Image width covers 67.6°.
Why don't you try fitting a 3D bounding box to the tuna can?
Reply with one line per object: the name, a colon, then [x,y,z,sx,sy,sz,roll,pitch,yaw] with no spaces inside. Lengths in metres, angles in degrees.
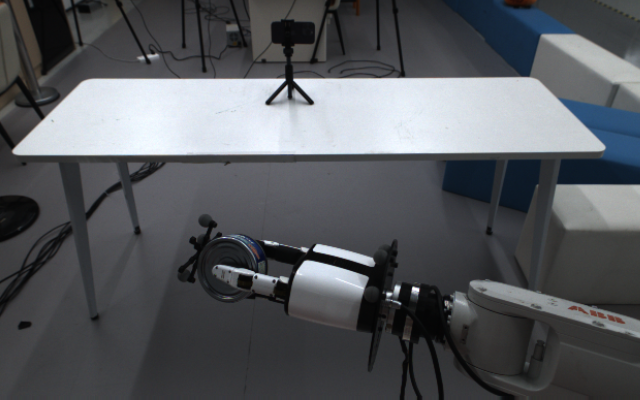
tuna can: [-0.108,0.092,0.617,0.085,0.085,0.034,12,5,13]
